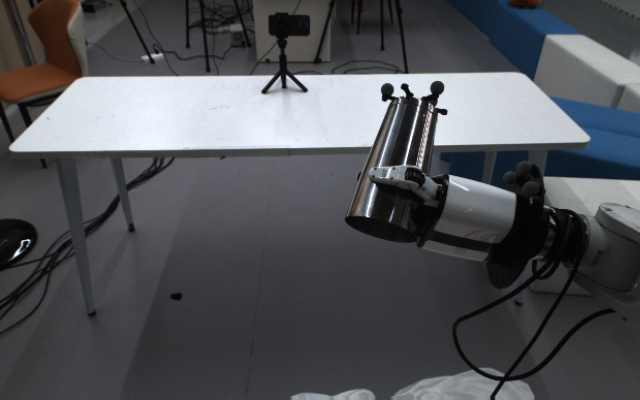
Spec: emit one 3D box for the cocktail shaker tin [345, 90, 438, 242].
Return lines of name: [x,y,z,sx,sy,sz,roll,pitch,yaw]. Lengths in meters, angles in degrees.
cocktail shaker tin: [0.099,-0.042,0.614,0.093,0.093,0.170,13,73,15]
